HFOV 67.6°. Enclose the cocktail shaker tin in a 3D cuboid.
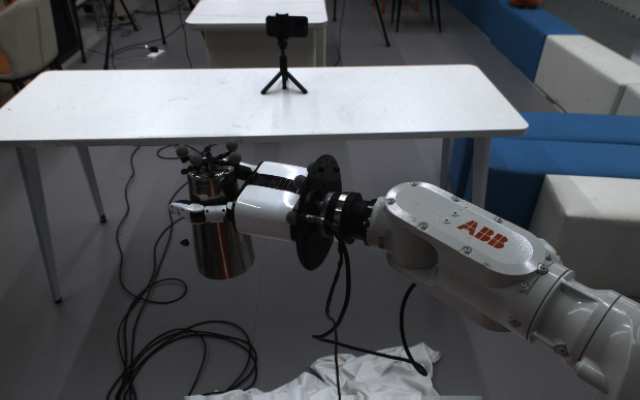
[{"bbox_3d":[-0.149,0.022,0.725,0.093,0.170,0.093,-1,33,1],"label":"cocktail shaker tin"}]
